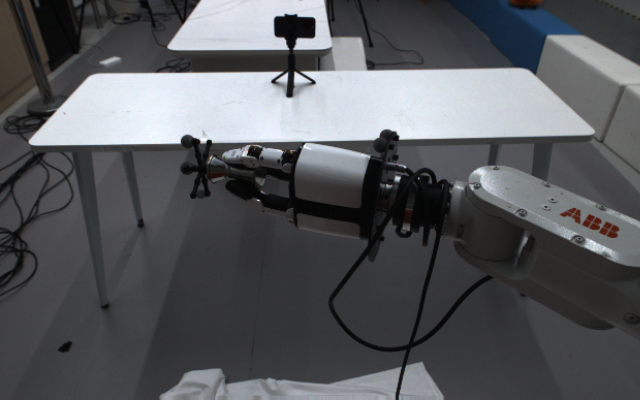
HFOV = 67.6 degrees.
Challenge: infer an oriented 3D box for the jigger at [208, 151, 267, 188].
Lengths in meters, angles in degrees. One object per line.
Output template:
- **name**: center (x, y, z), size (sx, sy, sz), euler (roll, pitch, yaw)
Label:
- **jigger**: center (-0.102, -0.042, 0.641), size (0.071, 0.043, 0.043), euler (4, 34, 13)
